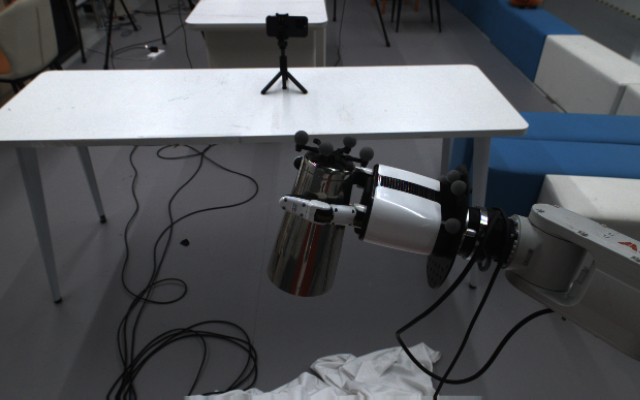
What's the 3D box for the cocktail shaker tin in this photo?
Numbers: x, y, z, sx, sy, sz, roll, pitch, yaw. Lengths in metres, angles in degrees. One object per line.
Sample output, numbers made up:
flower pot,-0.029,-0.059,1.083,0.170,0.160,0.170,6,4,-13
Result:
cocktail shaker tin,-0.004,0.025,0.620,0.093,0.170,0.093,12,25,-6
